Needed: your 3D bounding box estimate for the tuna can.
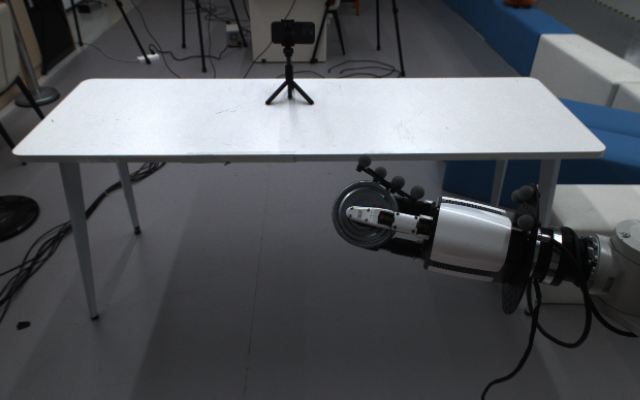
[{"bbox_3d":[0.063,0.025,0.619,0.085,0.085,0.034,12,-4,14],"label":"tuna can"}]
